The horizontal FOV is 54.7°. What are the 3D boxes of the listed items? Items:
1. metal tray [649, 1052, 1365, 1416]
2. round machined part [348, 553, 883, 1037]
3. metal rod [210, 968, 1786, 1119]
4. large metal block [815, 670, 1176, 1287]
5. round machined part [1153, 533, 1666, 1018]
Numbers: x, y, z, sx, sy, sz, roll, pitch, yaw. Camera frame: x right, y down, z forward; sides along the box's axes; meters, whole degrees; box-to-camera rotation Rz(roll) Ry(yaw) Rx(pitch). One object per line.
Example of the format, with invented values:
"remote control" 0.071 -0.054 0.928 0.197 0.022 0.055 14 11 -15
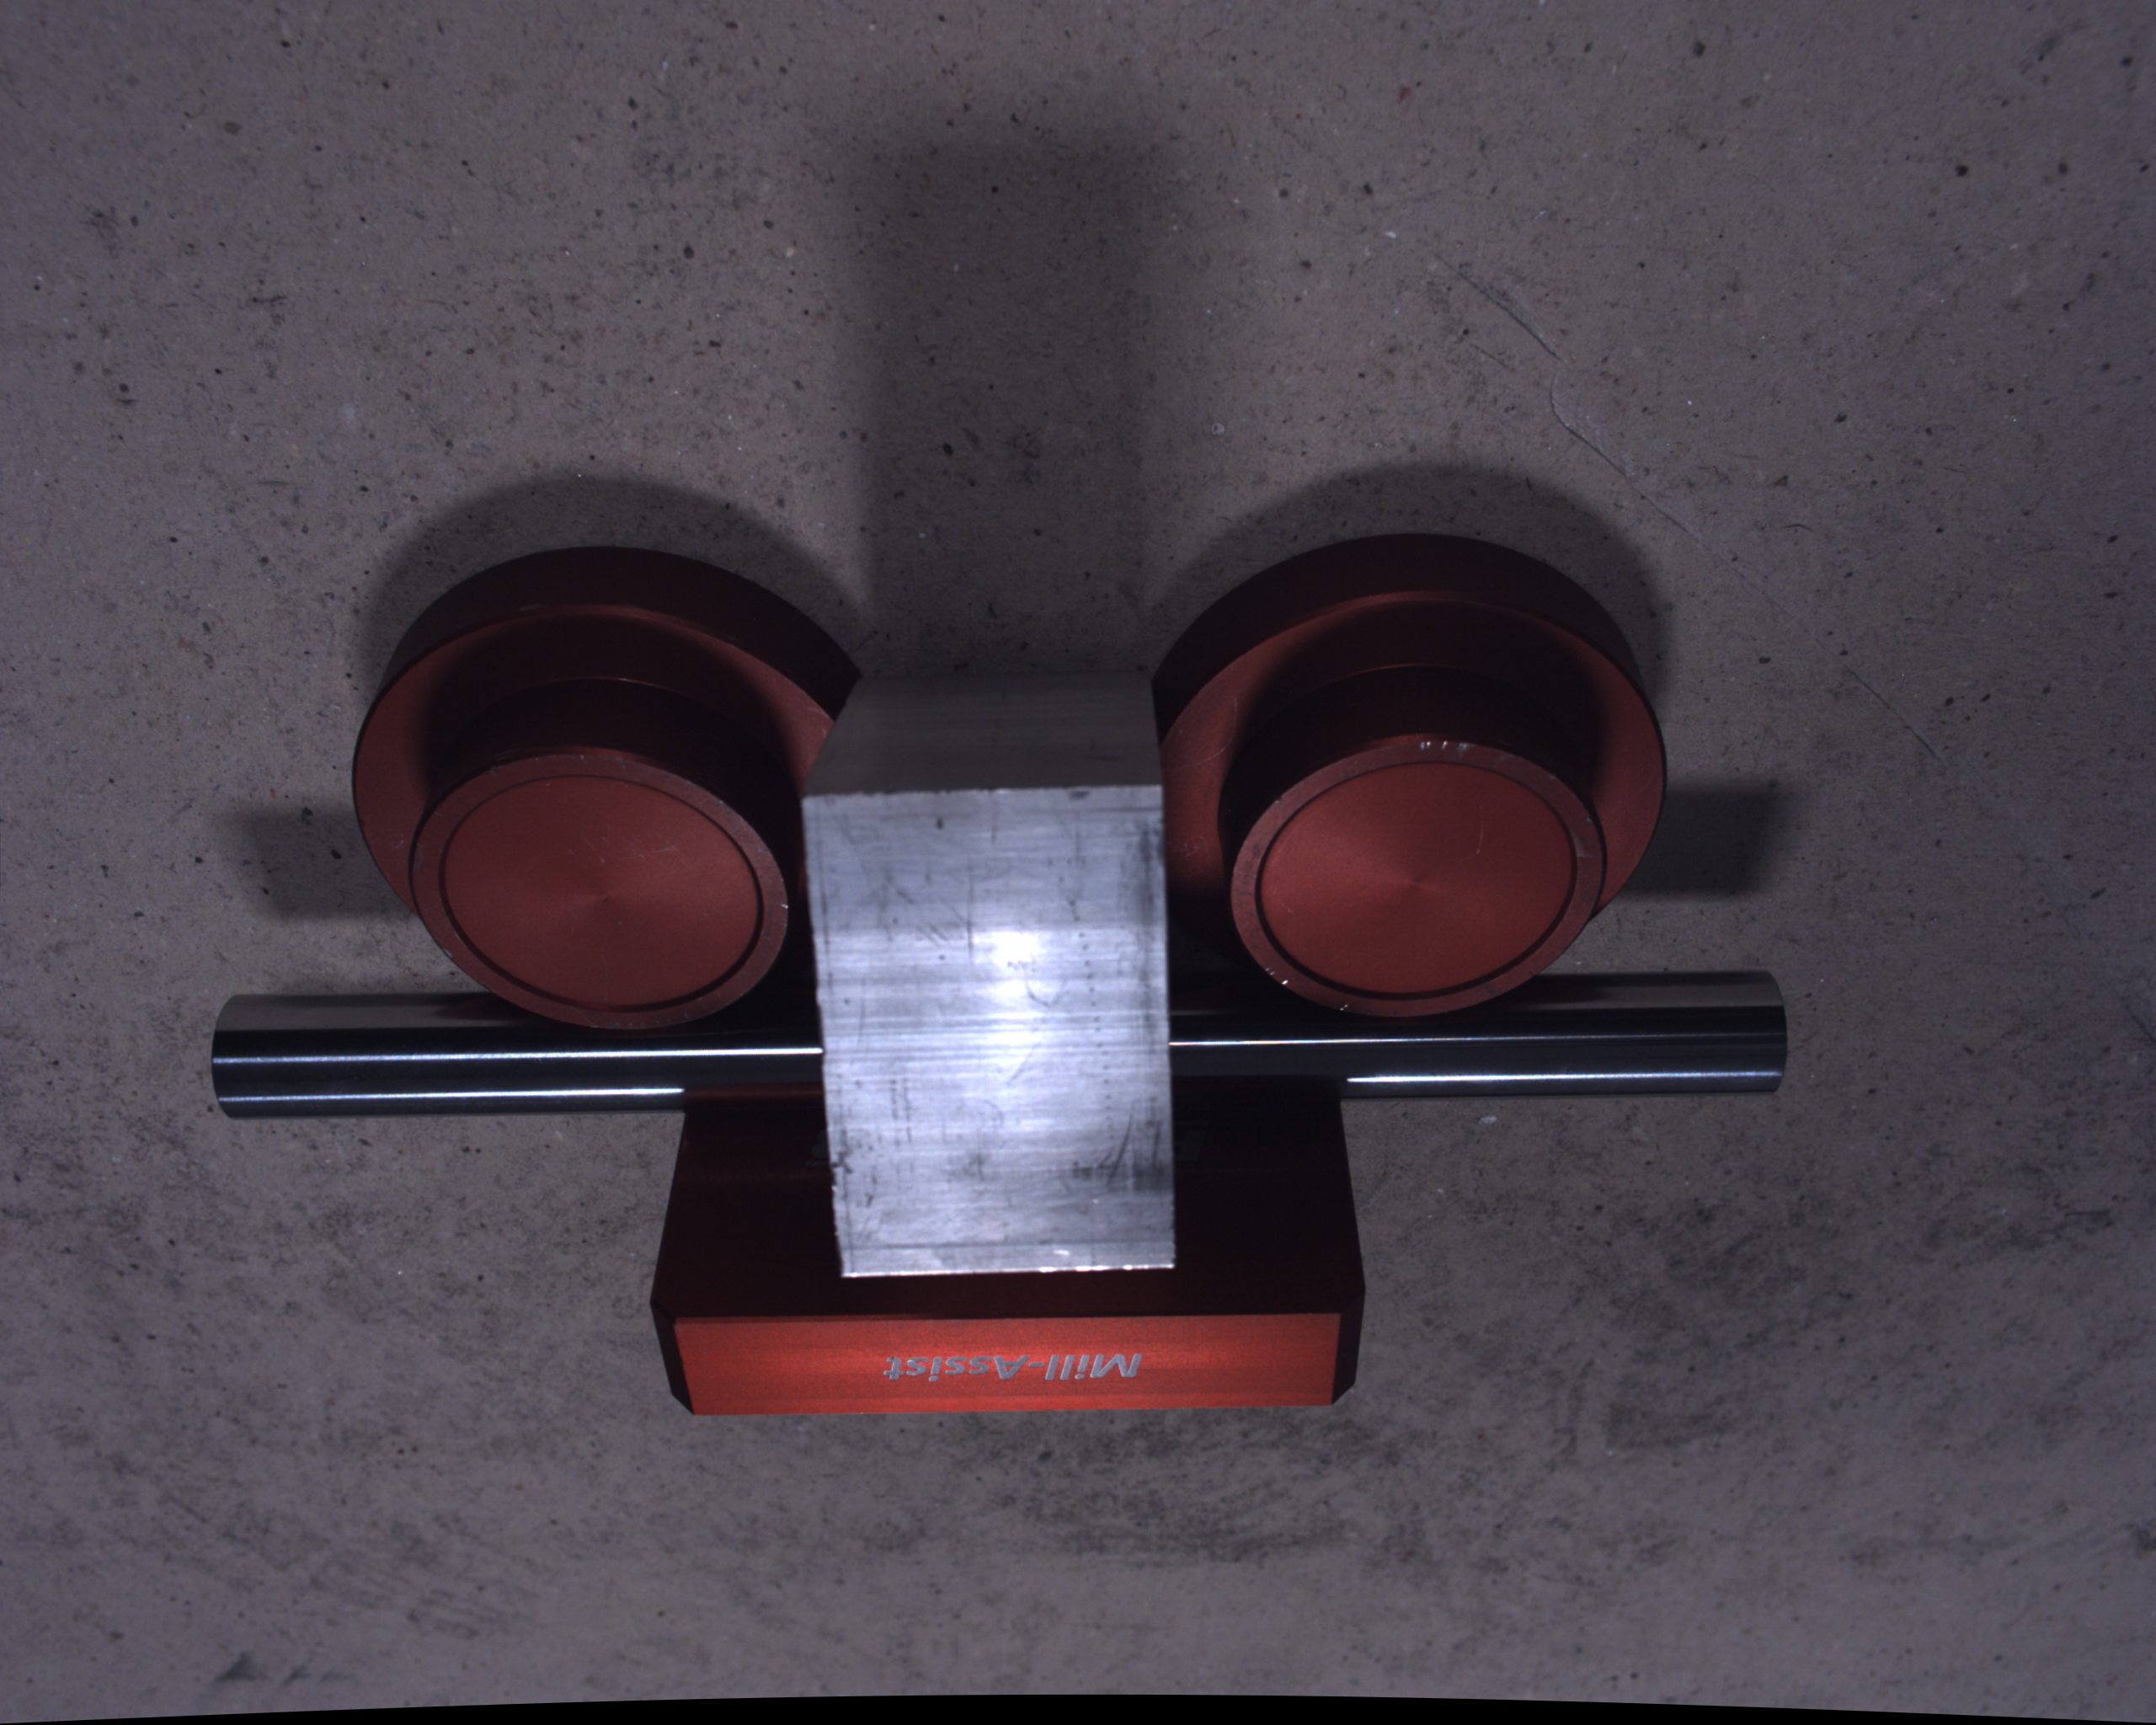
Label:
"metal tray" -0.013 0.064 0.420 0.131 0.090 0.030 -1 130 0
"round machined part" -0.086 -0.005 0.389 0.099 0.042 0.097 -1 130 0
"metal rod" -0.015 0.036 0.412 0.302 0.025 0.025 -1 130 0
"large metal block" -0.011 0.016 0.350 0.050 0.080 0.079 -2 107 0
"round machined part" 0.060 -0.009 0.390 0.099 0.042 0.097 -1 130 0
